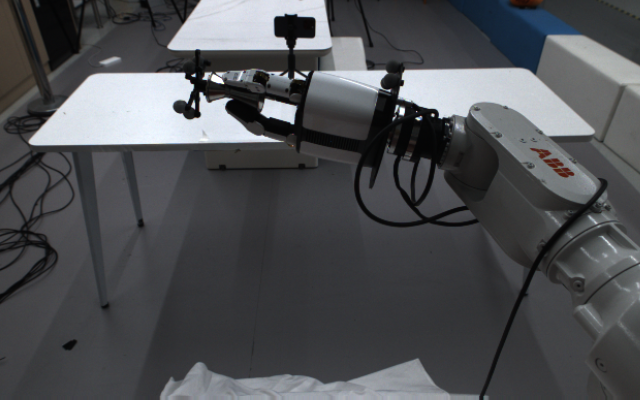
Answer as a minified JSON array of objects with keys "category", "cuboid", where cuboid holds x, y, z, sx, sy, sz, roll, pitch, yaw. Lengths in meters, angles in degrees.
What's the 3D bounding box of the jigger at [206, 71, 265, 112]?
[{"category":"jigger","cuboid":[-0.100,-0.141,0.620,0.071,0.043,0.043,10,35,1]}]
